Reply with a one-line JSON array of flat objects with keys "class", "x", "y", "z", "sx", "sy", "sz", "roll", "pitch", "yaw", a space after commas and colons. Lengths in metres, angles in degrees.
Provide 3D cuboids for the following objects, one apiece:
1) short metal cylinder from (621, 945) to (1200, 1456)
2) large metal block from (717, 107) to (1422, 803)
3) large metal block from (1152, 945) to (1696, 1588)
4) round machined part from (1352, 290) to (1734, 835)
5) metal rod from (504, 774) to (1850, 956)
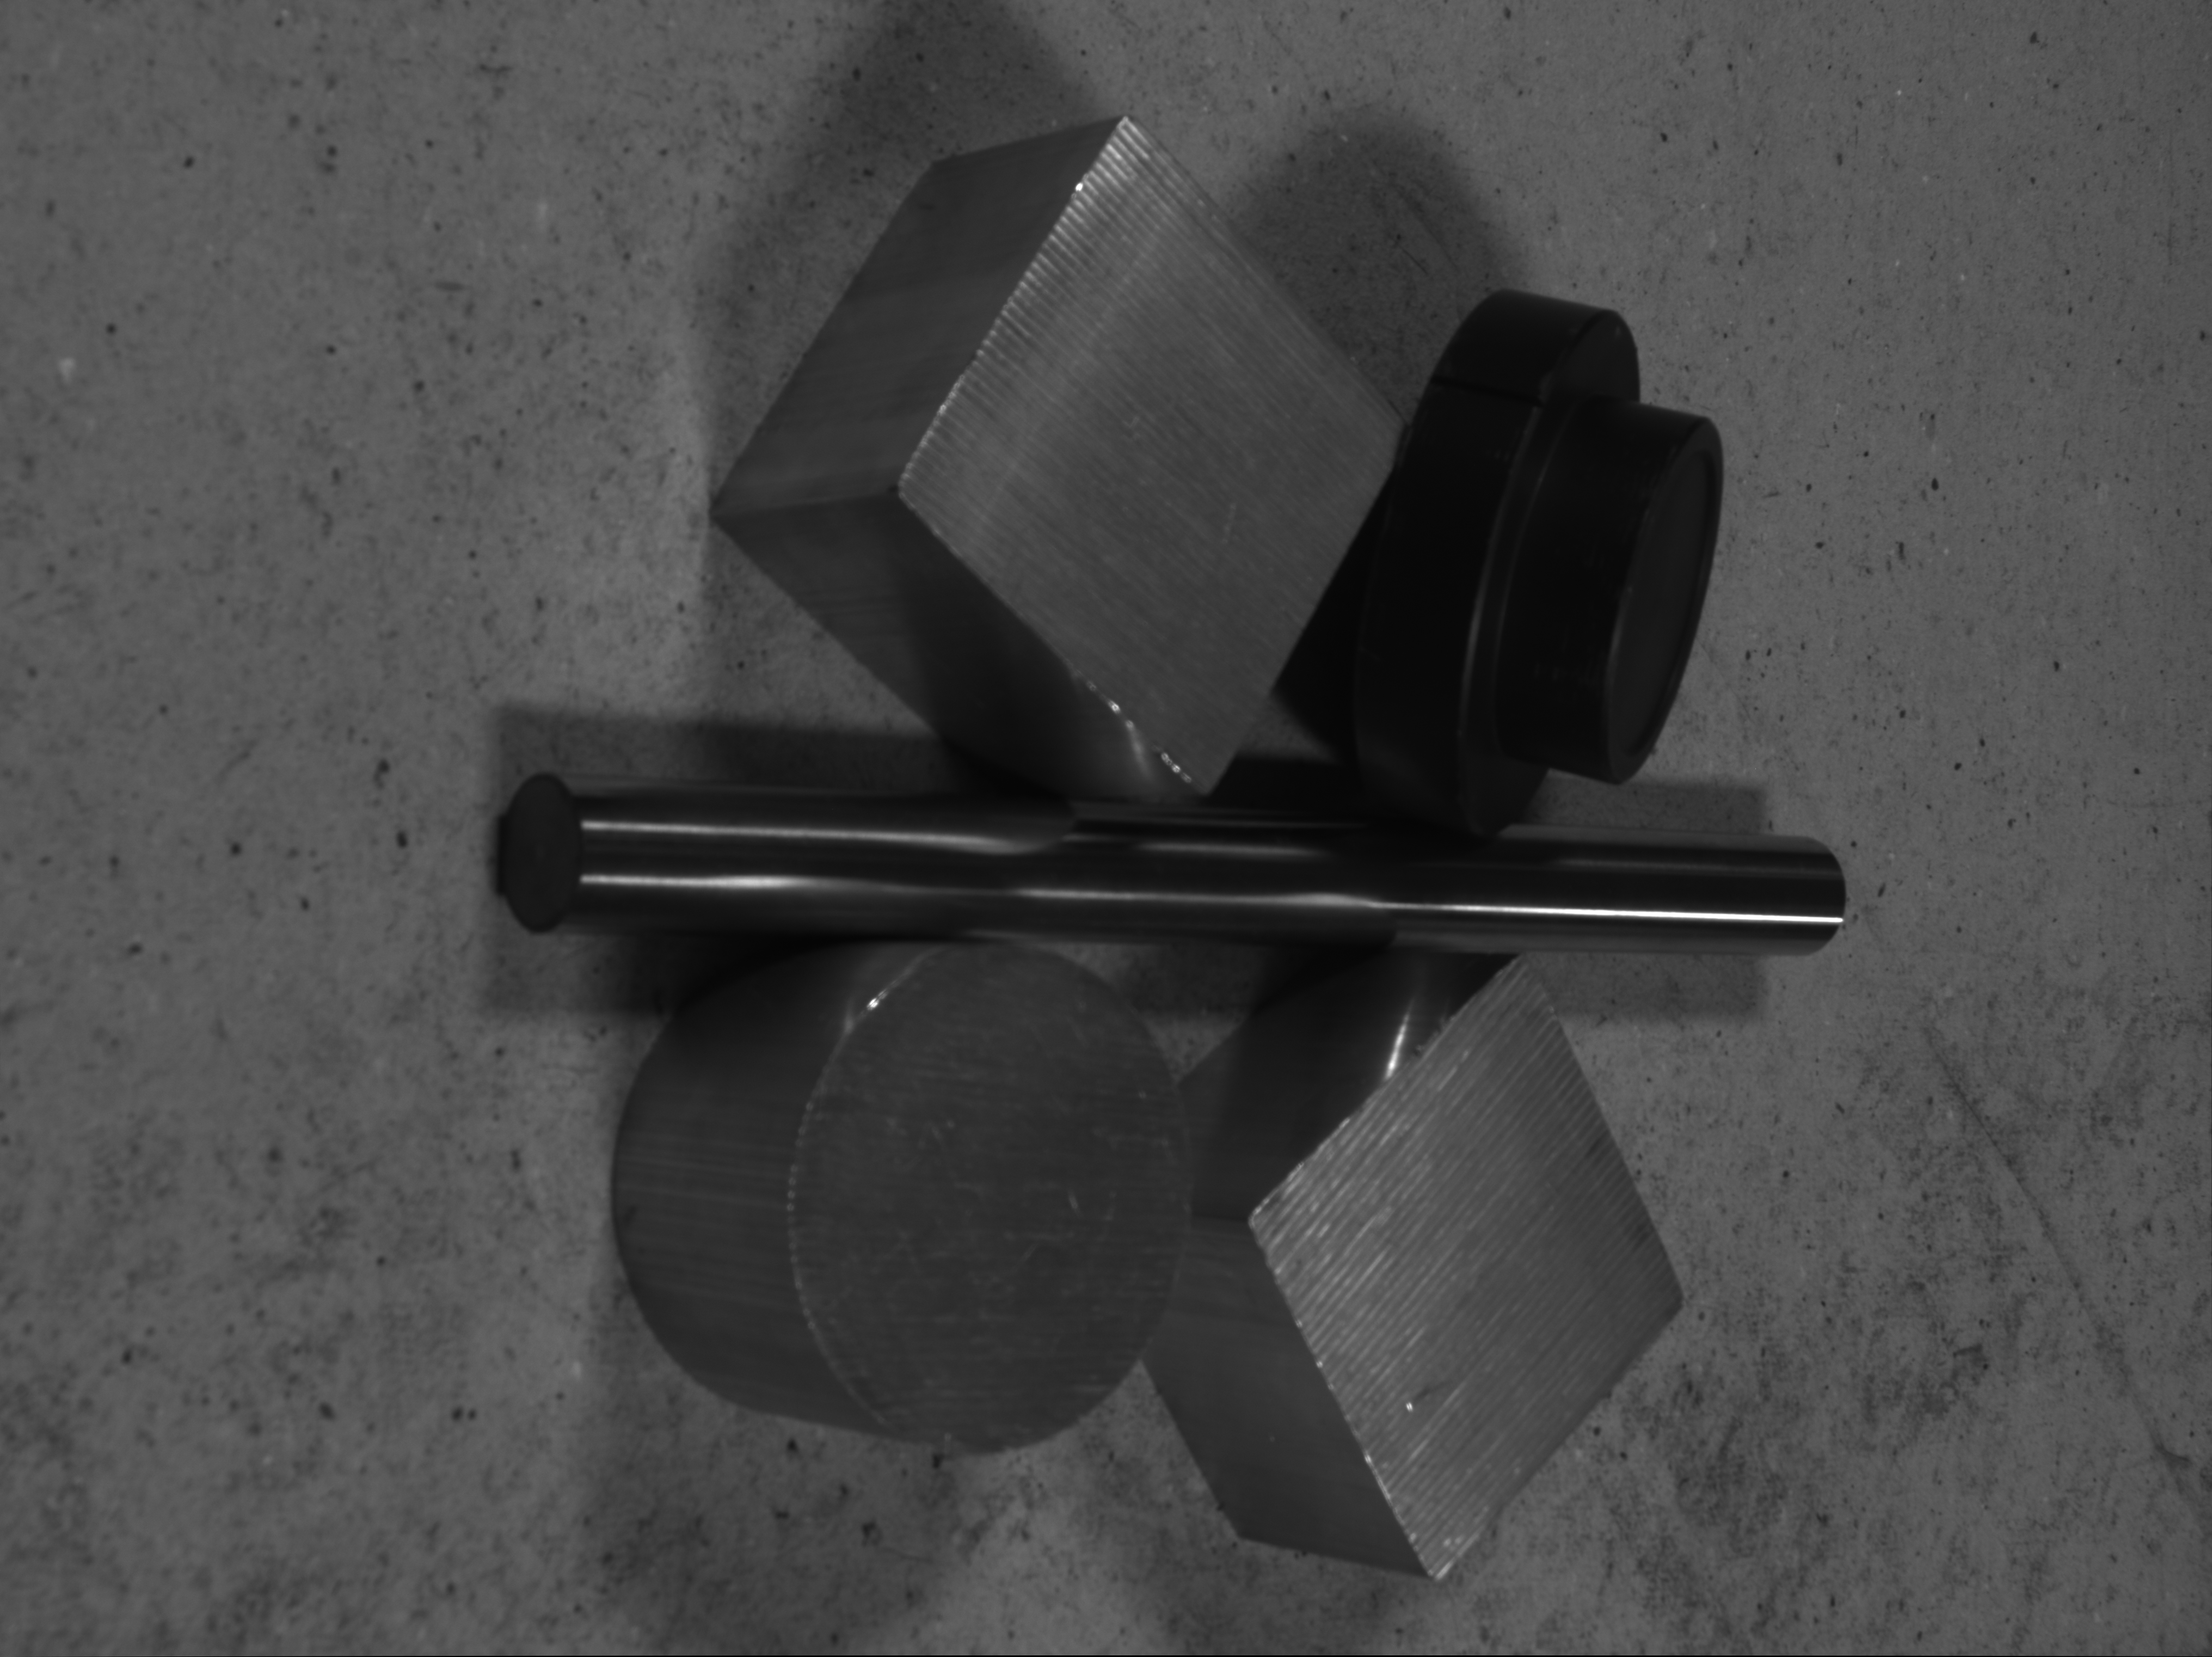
[{"class": "short metal cylinder", "x": -0.031, "y": 0.059, "z": 0.595, "sx": 0.080, "sy": 0.050, "sz": 0.080, "roll": 0, "pitch": 90, "yaw": -40}, {"class": "large metal block", "x": -0.004, "y": -0.060, "z": 0.615, "sx": 0.080, "sy": 0.050, "sz": 0.080, "roll": 44, "pitch": 64, "yaw": -31}, {"class": "large metal block", "x": 0.051, "y": 0.077, "z": 0.664, "sx": 0.080, "sy": 0.050, "sz": 0.080, "roll": -40, "pitch": 114, "yaw": -32}, {"class": "round machined part", "x": 0.083, "y": -0.046, "z": 0.665, "sx": 0.098, "sy": 0.042, "sz": 0.098, "roll": -48, "pitch": 146, "yaw": -48}, {"class": "metal rod", "x": 0.029, "y": 0.009, "z": 0.663, "sx": 0.301, "sy": 0.025, "sz": 0.025, "roll": 3, "pitch": 88, "yaw": -40}]
